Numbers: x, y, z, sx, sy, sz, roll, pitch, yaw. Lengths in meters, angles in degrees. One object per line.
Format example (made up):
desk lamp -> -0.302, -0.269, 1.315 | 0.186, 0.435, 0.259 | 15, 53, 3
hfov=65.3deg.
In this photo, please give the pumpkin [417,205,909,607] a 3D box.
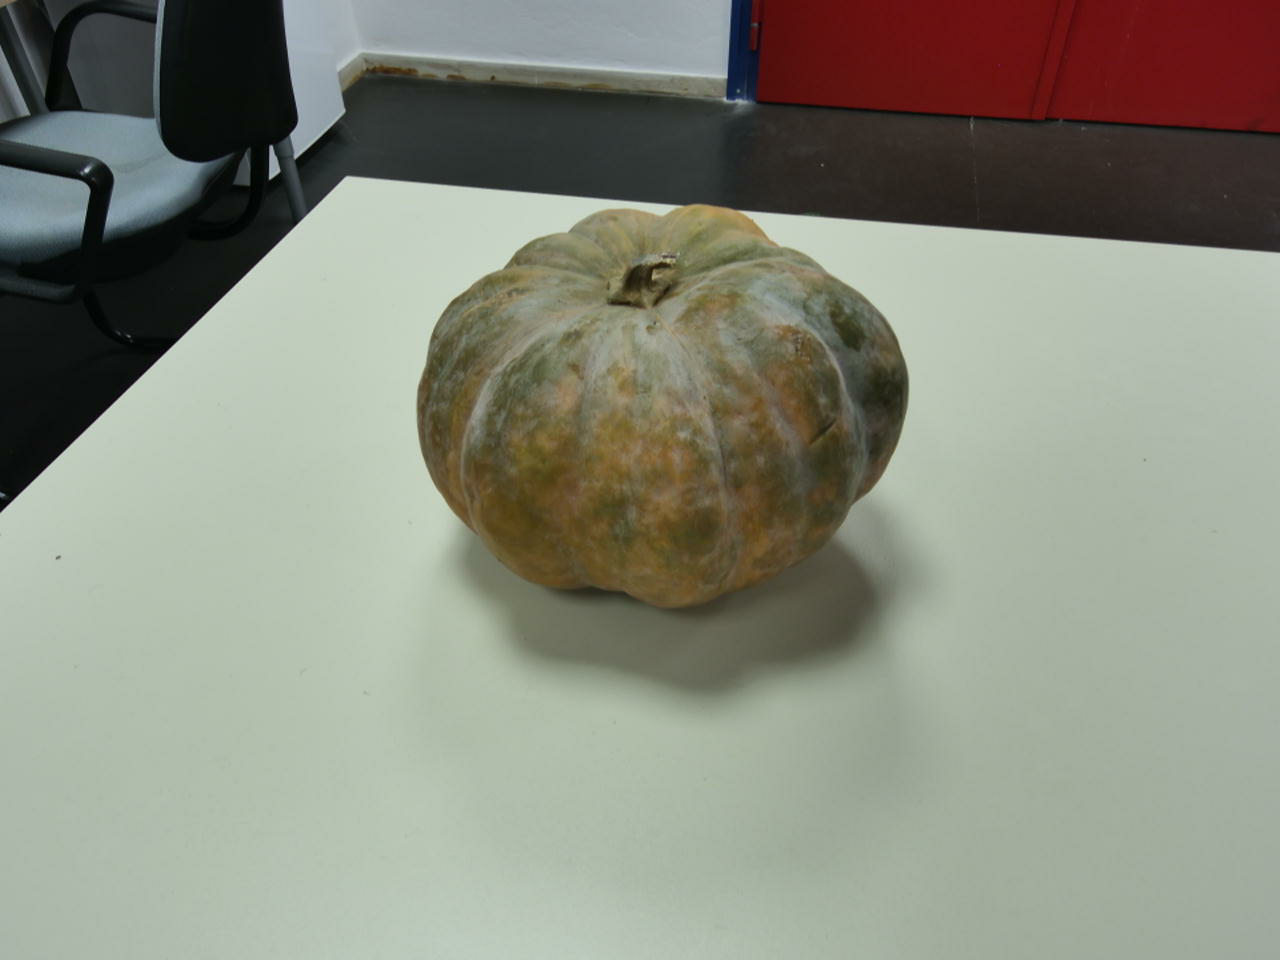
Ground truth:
pumpkin -> 0.005, -0.044, 0.529 | 0.252, 0.169, 0.251 | 0, 39, 0
